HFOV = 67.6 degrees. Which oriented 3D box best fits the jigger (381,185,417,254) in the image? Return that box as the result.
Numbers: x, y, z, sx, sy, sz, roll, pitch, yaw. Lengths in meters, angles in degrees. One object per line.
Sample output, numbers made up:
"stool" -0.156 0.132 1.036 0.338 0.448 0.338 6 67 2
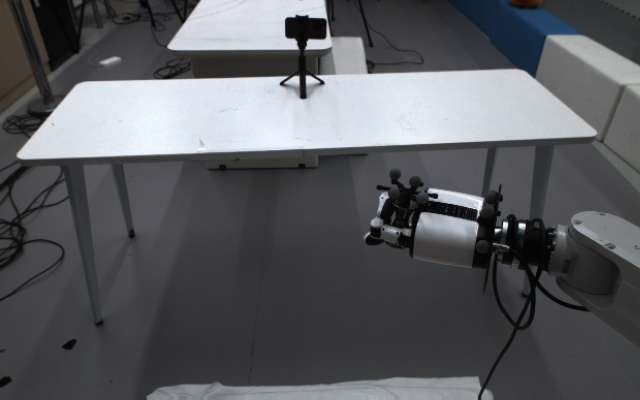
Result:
"jigger" 0.123 0.033 0.727 0.043 0.071 0.043 6 26 -3
